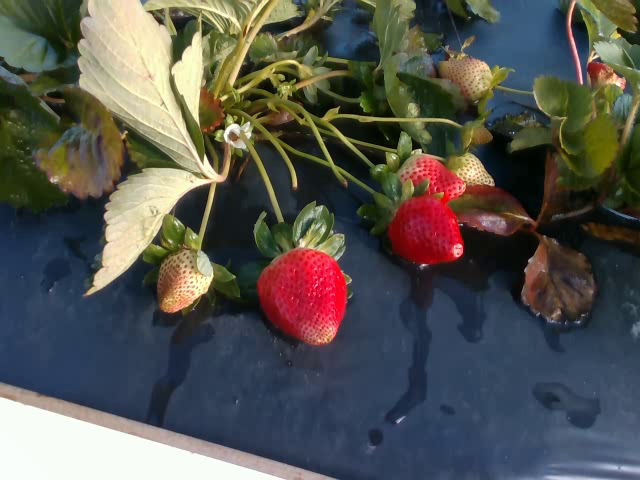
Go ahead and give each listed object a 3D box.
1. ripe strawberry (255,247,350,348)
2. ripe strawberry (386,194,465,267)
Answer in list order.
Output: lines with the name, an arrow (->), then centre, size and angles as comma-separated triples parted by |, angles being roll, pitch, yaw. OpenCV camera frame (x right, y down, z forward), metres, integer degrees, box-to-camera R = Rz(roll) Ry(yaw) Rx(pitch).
ripe strawberry -> -0.007, 0.031, 0.308 | 0.050, 0.050, 0.065 | -25, 32, 2
ripe strawberry -> 0.062, -0.001, 0.348 | 0.042, 0.045, 0.055 | 42, 0, -36
